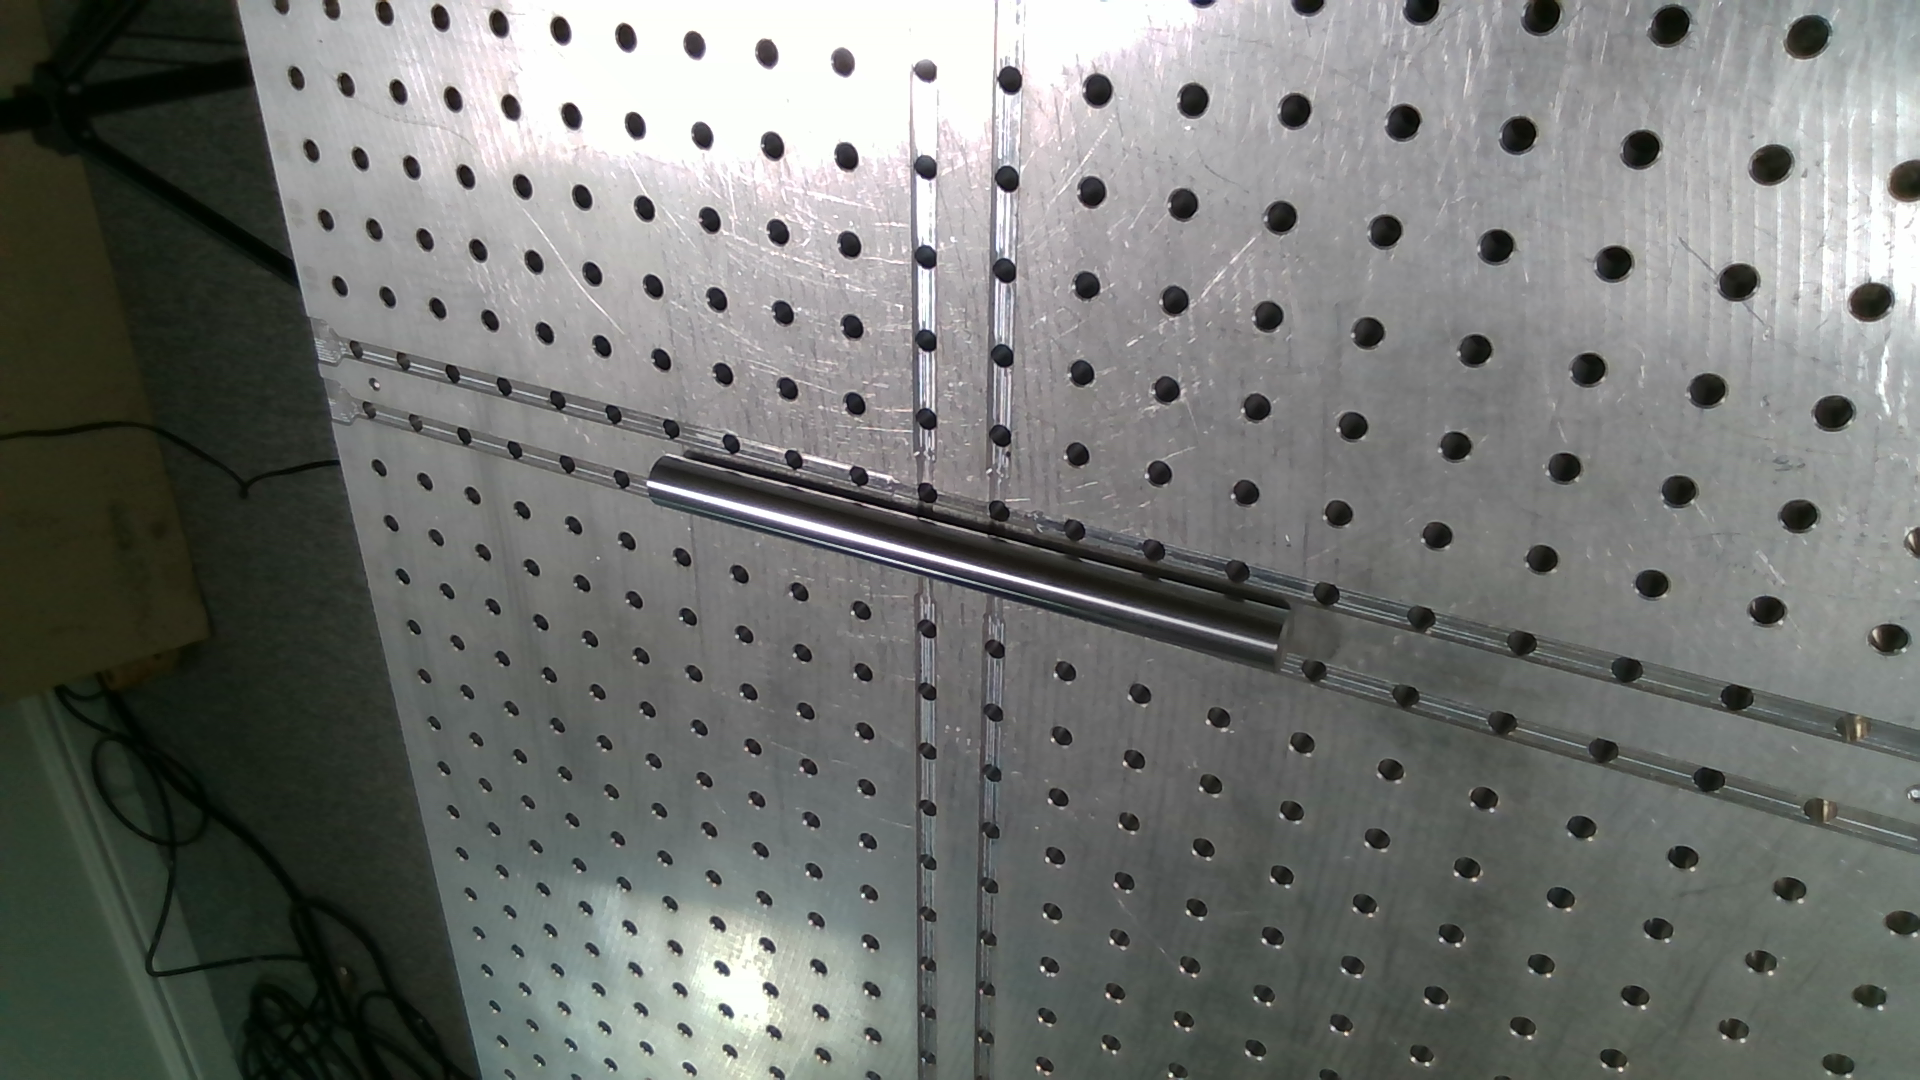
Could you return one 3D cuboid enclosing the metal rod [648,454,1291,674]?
[{"bbox_3d":[-0.008,0.005,0.590,0.300,0.025,0.025,14,122,25],"label":"metal rod"}]
